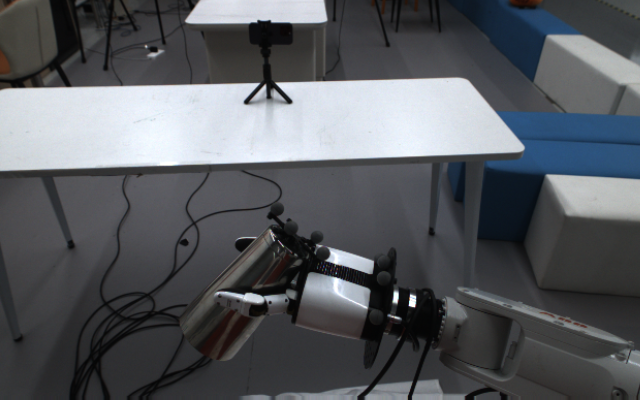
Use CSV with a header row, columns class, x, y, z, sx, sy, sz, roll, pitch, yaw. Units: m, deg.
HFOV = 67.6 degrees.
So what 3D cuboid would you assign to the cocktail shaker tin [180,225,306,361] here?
class,x,y,z,sx,sy,sz,roll,pitch,yaw
cocktail shaker tin,-0.093,0.111,0.628,0.093,0.170,0.093,41,13,-11
